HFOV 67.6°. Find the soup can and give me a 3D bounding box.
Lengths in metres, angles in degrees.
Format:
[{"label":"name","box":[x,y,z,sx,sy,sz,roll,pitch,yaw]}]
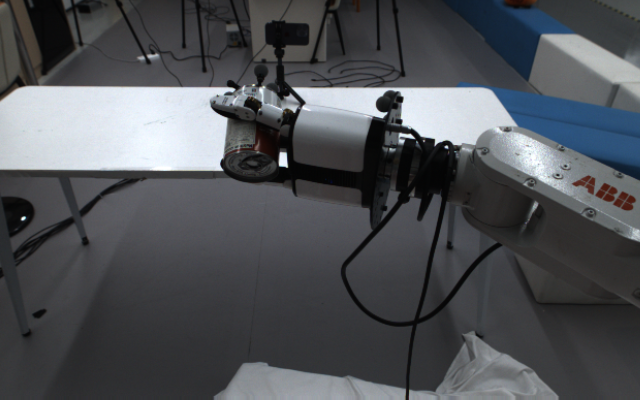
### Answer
[{"label":"soup can","box":[-0.080,-0.082,0.592,0.067,0.067,0.101,1,61,-2]}]
